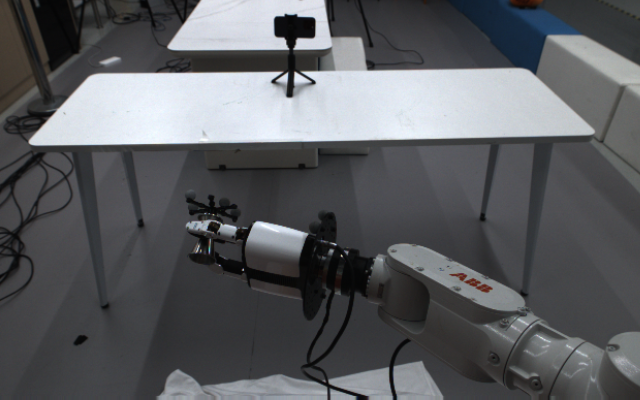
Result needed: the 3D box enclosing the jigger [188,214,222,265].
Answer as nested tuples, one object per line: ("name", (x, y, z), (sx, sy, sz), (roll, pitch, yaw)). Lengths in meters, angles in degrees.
("jigger", (-0.176, 0.058, 0.742), (0.043, 0.043, 0.071), (4, 61, 3))
